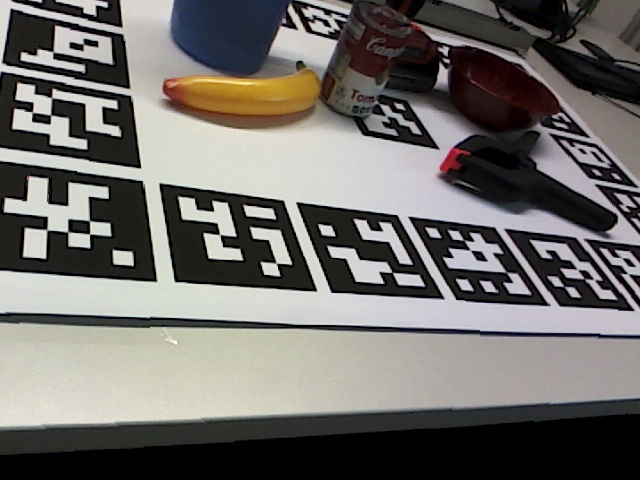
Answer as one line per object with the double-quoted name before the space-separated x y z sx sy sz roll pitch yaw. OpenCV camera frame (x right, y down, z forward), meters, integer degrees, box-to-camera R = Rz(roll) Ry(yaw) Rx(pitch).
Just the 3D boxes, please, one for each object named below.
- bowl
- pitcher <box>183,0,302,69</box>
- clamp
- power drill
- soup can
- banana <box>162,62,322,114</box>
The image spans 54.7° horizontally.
"bowl" 0.231 -0.196 0.806 0.161 0.055 0.162 16 41 -15
"pitcher" -0.049 -0.301 0.609 0.188 0.242 0.134 -18 54 -43
"clamp" 0.221 -0.085 0.678 0.201 0.037 0.166 3 48 -29
"power drill" 0.149 -0.303 0.744 0.183 0.187 0.058 1 46 -31
"soup can" 0.049 -0.198 0.666 0.068 0.102 0.068 15 32 -10
"banana" -0.059 -0.148 0.598 0.075 0.039 0.196 39 37 28
